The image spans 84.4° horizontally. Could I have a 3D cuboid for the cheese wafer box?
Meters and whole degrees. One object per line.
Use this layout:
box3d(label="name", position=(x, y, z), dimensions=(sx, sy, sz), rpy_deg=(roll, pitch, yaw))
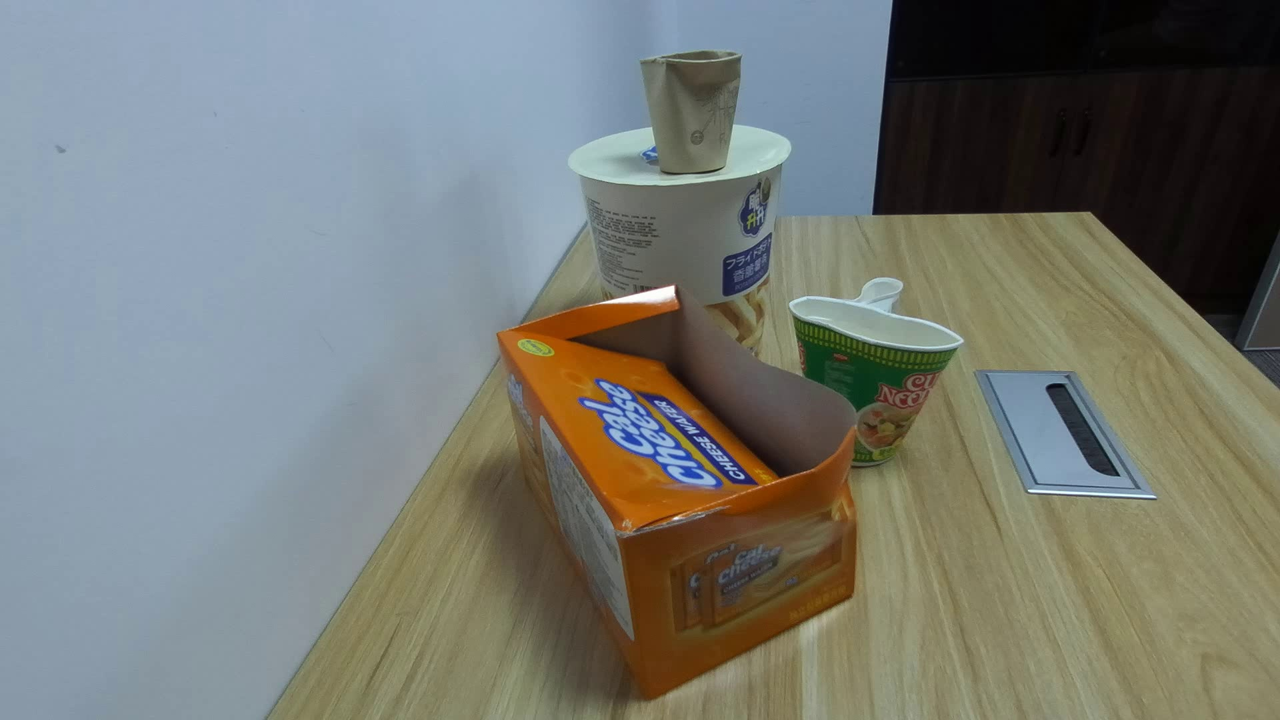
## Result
box3d(label="cheese wafer box", position=(0.019, 0.065, 0.455), dimensions=(0.153, 0.132, 0.229), rpy_deg=(-16, 32, -21))

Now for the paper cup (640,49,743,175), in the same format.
box3d(label="paper cup", position=(0.041, -0.191, 0.545), dimensions=(0.066, 0.084, 0.071), rpy_deg=(-13, 27, -16))

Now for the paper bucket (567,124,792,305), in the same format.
box3d(label="paper bucket", position=(0.040, -0.095, 0.648), dimensions=(0.198, 0.195, 0.198), rpy_deg=(-3, 31, 2))

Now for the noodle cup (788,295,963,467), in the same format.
box3d(label="noodle cup", position=(0.164, 0.015, 0.525), dimensions=(0.070, 0.111, 0.114), rpy_deg=(-22, 36, -22))

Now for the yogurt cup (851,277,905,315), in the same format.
box3d(label="yogurt cup", position=(0.200, -0.033, 0.641), dimensions=(0.053, 0.071, 0.076), rpy_deg=(23, 38, 35))
